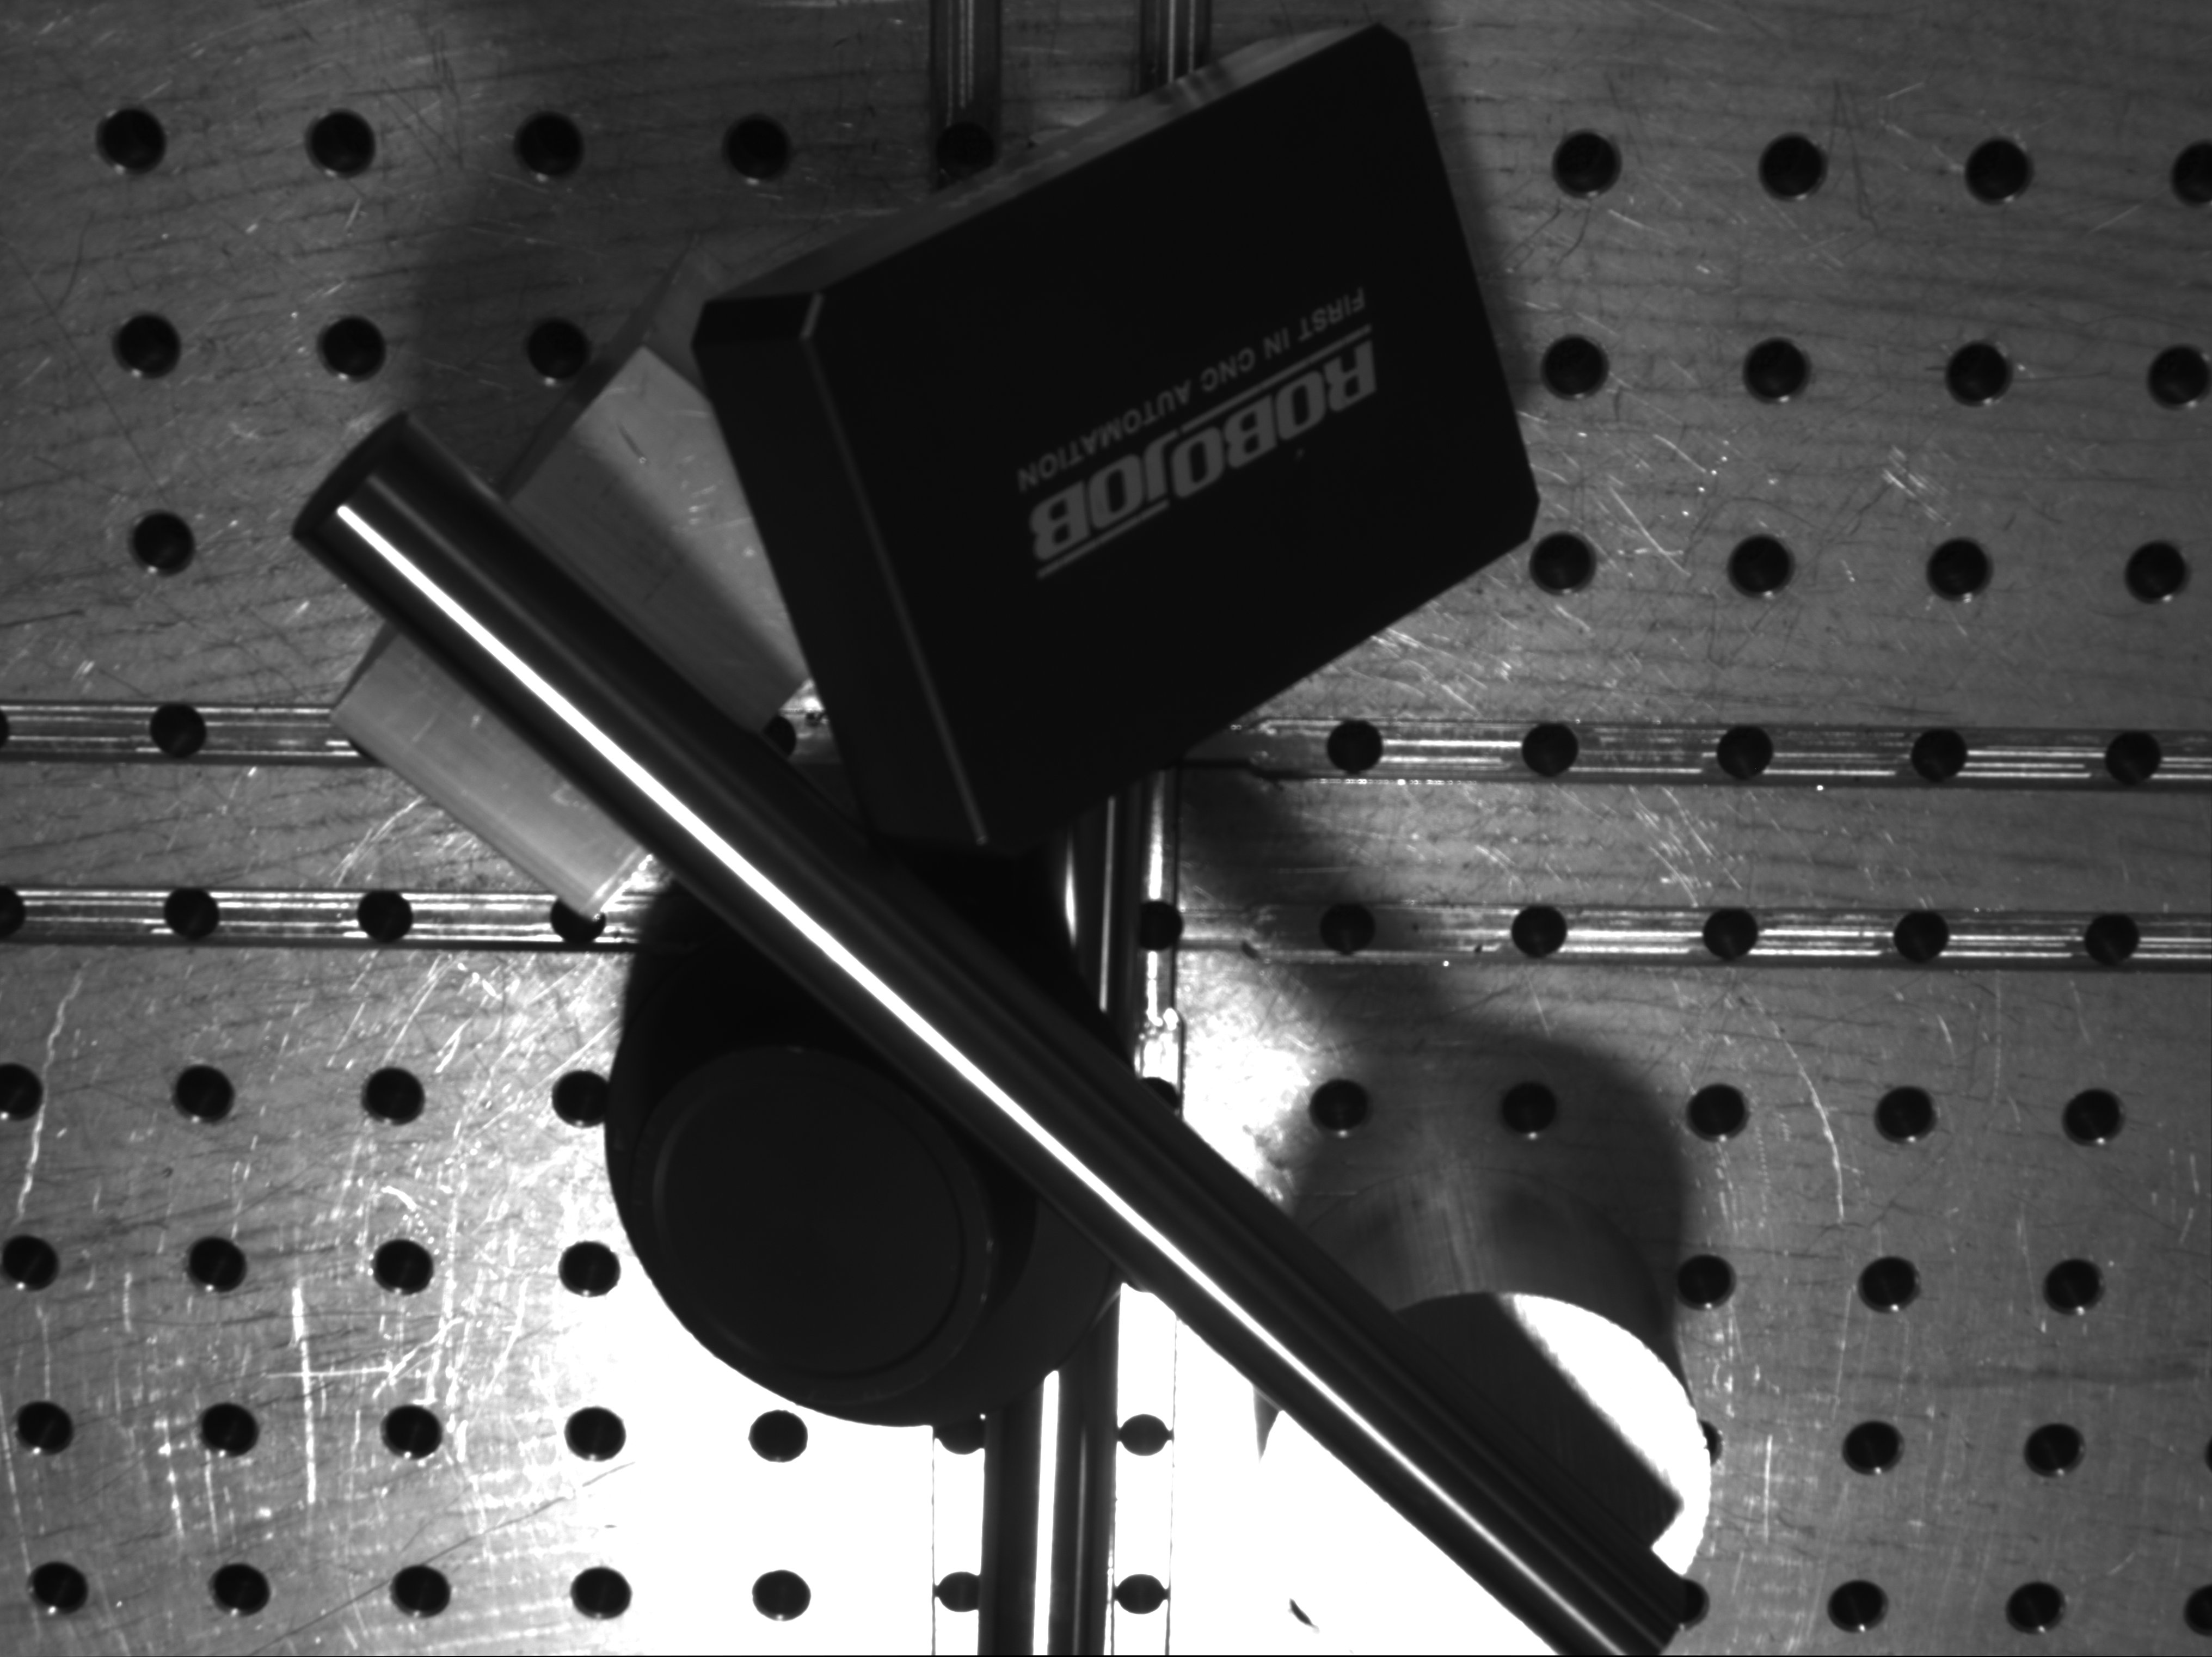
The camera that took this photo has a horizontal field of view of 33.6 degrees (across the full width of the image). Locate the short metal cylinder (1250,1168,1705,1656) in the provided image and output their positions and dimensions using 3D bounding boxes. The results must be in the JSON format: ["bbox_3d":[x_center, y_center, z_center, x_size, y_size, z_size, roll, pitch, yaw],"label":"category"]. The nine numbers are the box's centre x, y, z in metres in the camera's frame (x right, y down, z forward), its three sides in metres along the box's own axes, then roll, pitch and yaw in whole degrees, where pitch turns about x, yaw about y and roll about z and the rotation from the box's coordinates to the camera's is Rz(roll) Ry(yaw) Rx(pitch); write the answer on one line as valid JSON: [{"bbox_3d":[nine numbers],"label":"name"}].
[{"bbox_3d":[0.066,0.109,0.673,0.080,0.050,0.080,0,110,-1],"label":"short metal cylinder"}]

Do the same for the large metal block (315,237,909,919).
[{"bbox_3d":[-0.078,-0.043,0.601,0.050,0.080,0.080,39,105,-13],"label":"large metal block"}]

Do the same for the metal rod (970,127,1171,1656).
[{"bbox_3d":[-0.008,0.027,0.655,0.025,0.025,0.300,2,110,-1],"label":"metal rod"}]

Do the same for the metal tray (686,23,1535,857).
[{"bbox_3d":[0.005,-0.063,0.578,0.130,0.030,0.090,-32,113,-34],"label":"metal tray"}]

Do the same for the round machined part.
[{"bbox_3d":[-0.045,0.063,0.642,0.098,0.042,0.098,6,110,16],"label":"round machined part"}]

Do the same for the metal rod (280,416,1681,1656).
[{"bbox_3d":[-0.010,0.045,0.586,0.025,0.025,0.301,-41,113,13],"label":"metal rod"}]
